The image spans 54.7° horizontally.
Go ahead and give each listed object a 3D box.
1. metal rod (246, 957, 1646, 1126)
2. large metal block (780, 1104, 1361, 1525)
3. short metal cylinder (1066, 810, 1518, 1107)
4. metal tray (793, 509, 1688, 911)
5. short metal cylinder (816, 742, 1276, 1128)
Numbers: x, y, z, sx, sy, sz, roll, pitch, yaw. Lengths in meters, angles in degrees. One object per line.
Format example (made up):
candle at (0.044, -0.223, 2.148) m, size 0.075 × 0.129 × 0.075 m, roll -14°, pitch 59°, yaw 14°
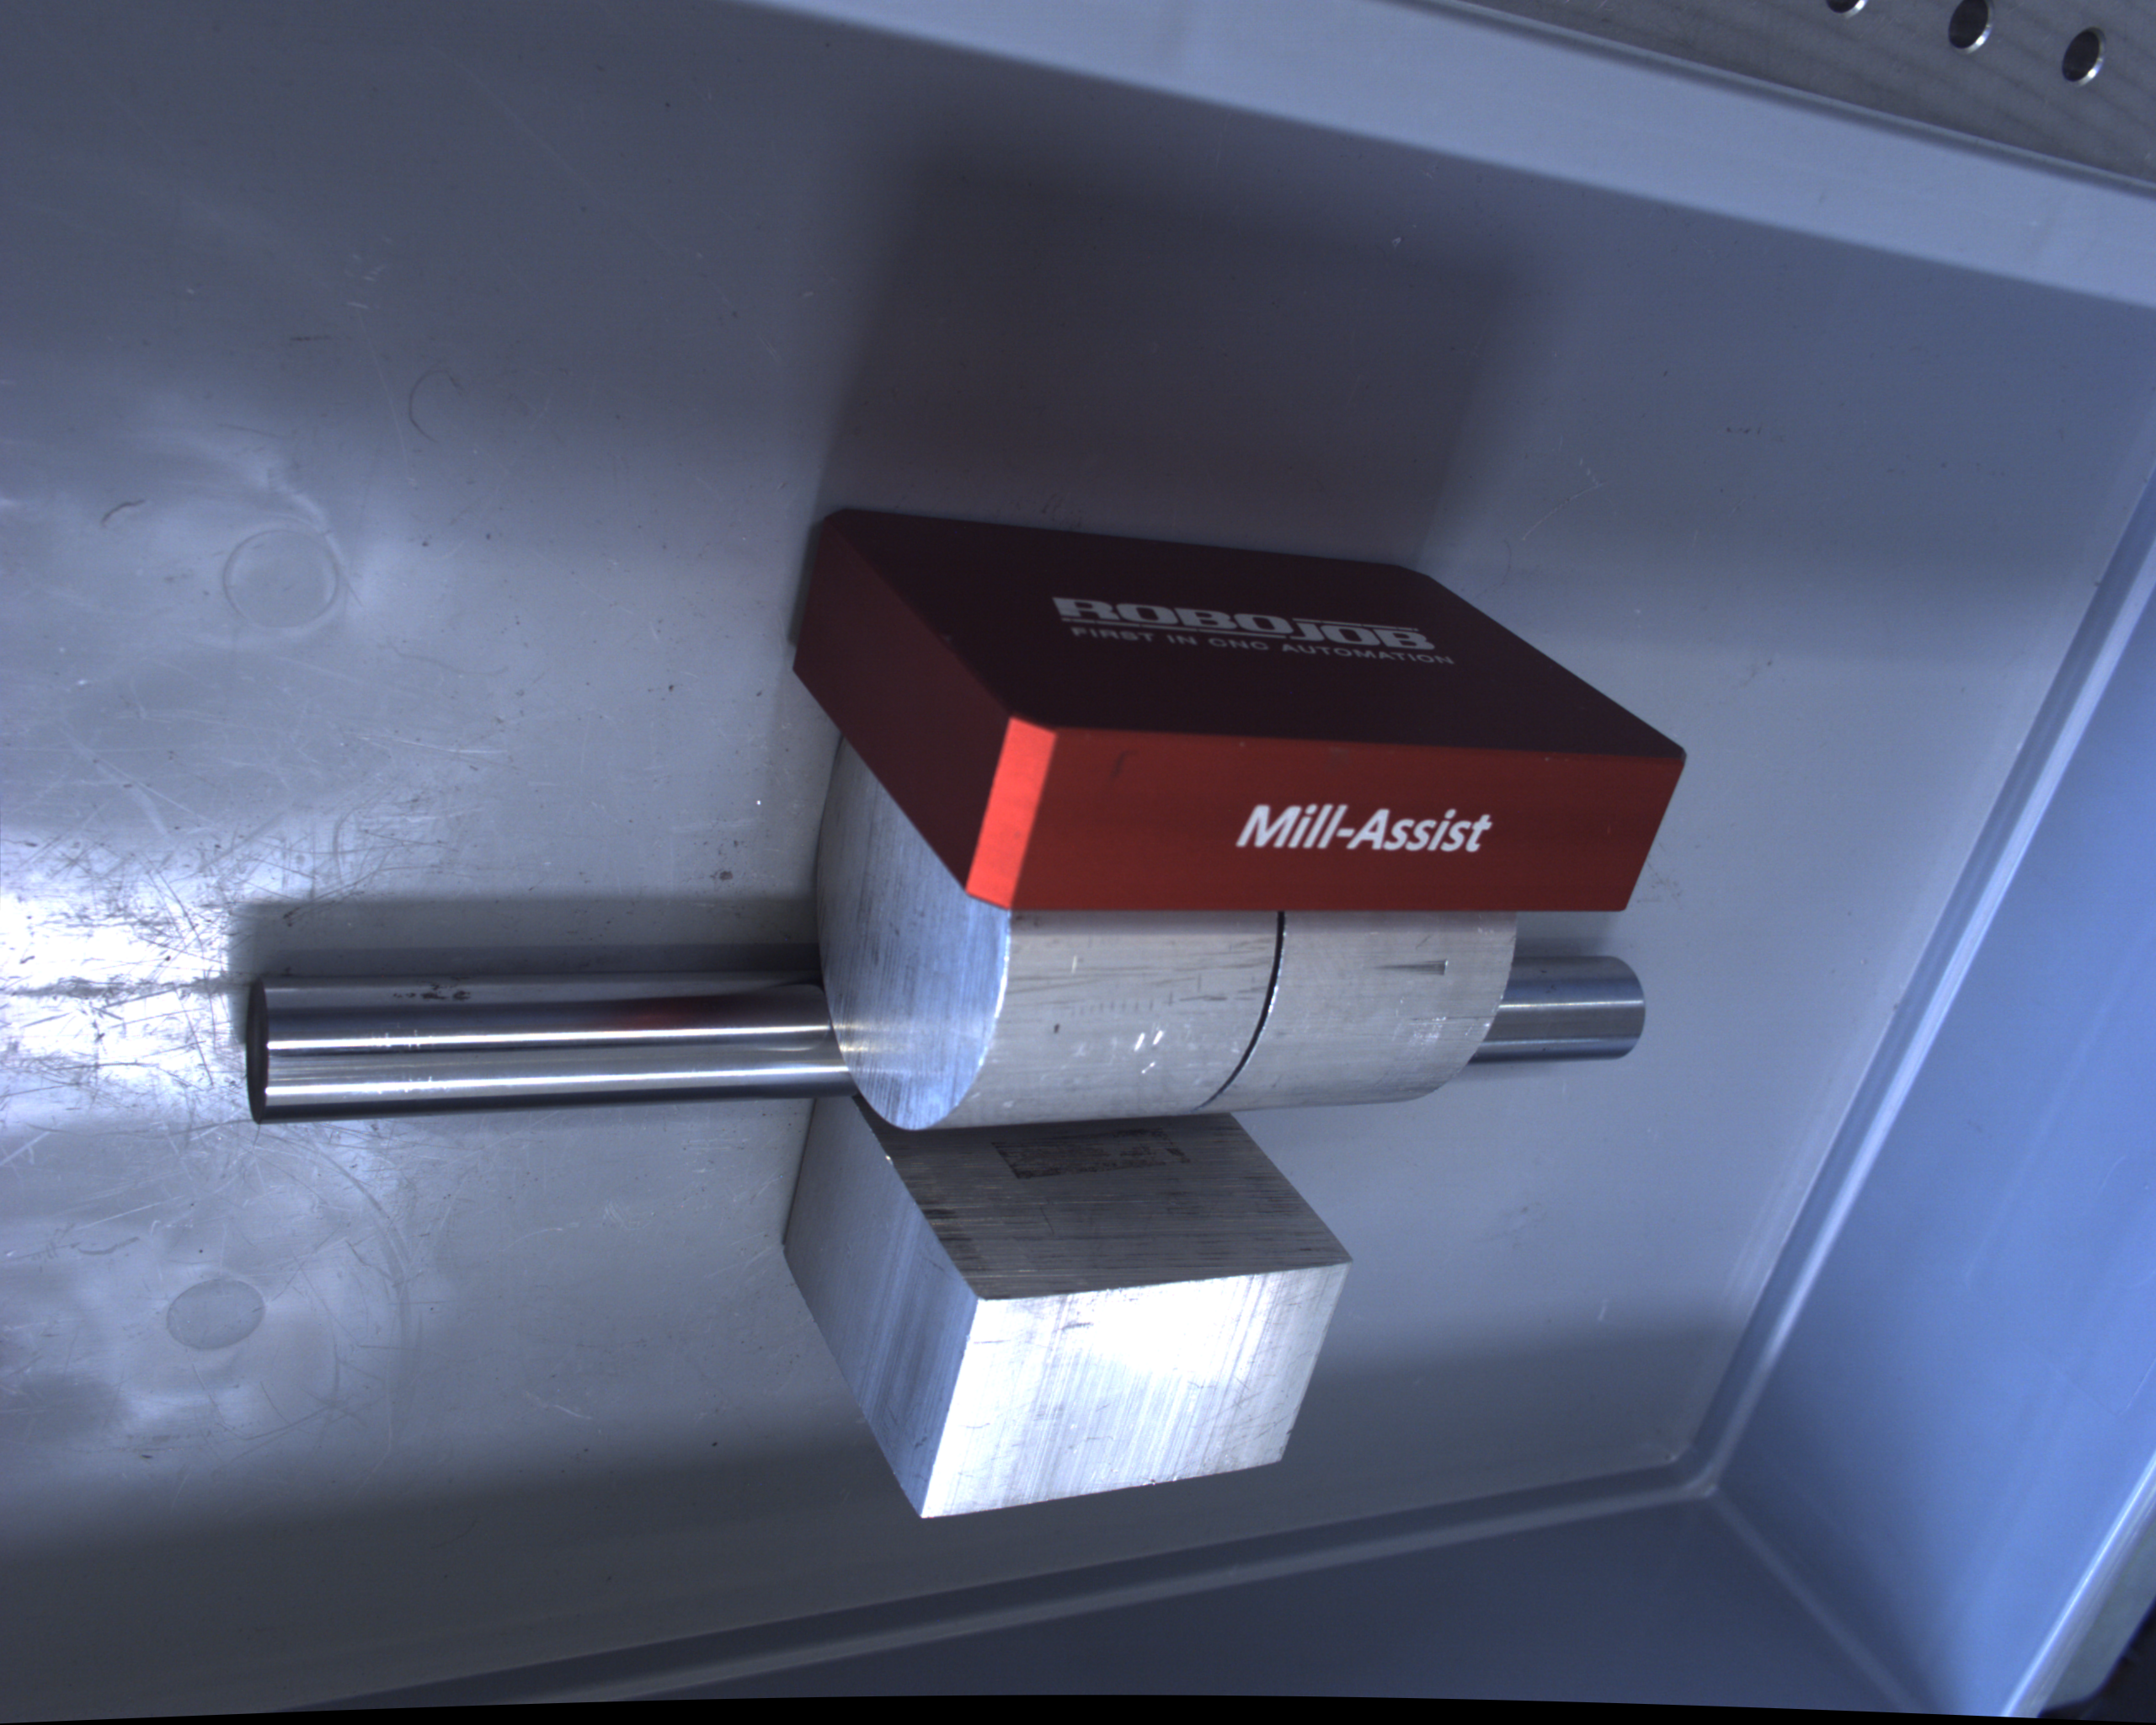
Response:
metal rod at (-0.006, 0.033, 0.424) m, size 0.303 × 0.025 × 0.025 m, roll 1°, pitch 118°, yaw -29°
large metal block at (-0.005, 0.079, 0.417) m, size 0.081 × 0.080 × 0.050 m, roll 1°, pitch 118°, yaw -29°
short metal cylinder at (0.038, 0.006, 0.397) m, size 0.050 × 0.080 × 0.079 m, roll 2°, pitch 118°, yaw -29°
metal tray at (0.027, -0.026, 0.363) m, size 0.131 × 0.090 × 0.030 m, roll 1°, pitch 118°, yaw -29°
short metal cylinder at (-0.008, 0.006, 0.371) m, size 0.050 × 0.080 × 0.079 m, roll 0°, pitch 118°, yaw -29°
